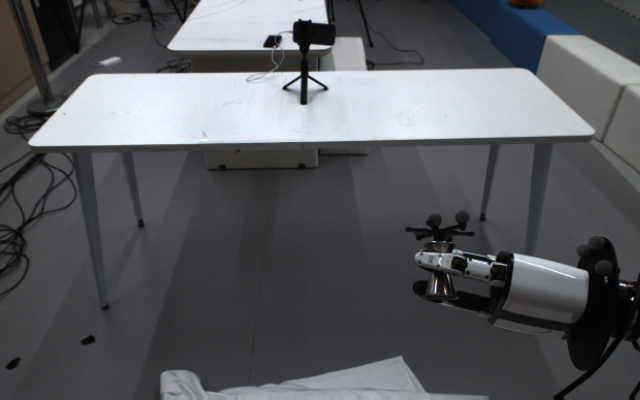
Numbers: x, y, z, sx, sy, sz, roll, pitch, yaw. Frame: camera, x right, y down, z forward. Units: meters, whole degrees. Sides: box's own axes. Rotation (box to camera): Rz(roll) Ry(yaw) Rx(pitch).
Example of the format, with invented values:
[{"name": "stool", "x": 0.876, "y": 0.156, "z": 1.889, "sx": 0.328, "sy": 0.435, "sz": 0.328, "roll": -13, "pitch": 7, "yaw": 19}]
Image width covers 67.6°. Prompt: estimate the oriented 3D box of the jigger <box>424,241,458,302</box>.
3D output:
[{"name": "jigger", "x": 0.151, "y": 0.088, "z": 0.617, "sx": 0.043, "sy": 0.043, "sz": 0.071, "roll": 4, "pitch": 71, "yaw": 2}]
